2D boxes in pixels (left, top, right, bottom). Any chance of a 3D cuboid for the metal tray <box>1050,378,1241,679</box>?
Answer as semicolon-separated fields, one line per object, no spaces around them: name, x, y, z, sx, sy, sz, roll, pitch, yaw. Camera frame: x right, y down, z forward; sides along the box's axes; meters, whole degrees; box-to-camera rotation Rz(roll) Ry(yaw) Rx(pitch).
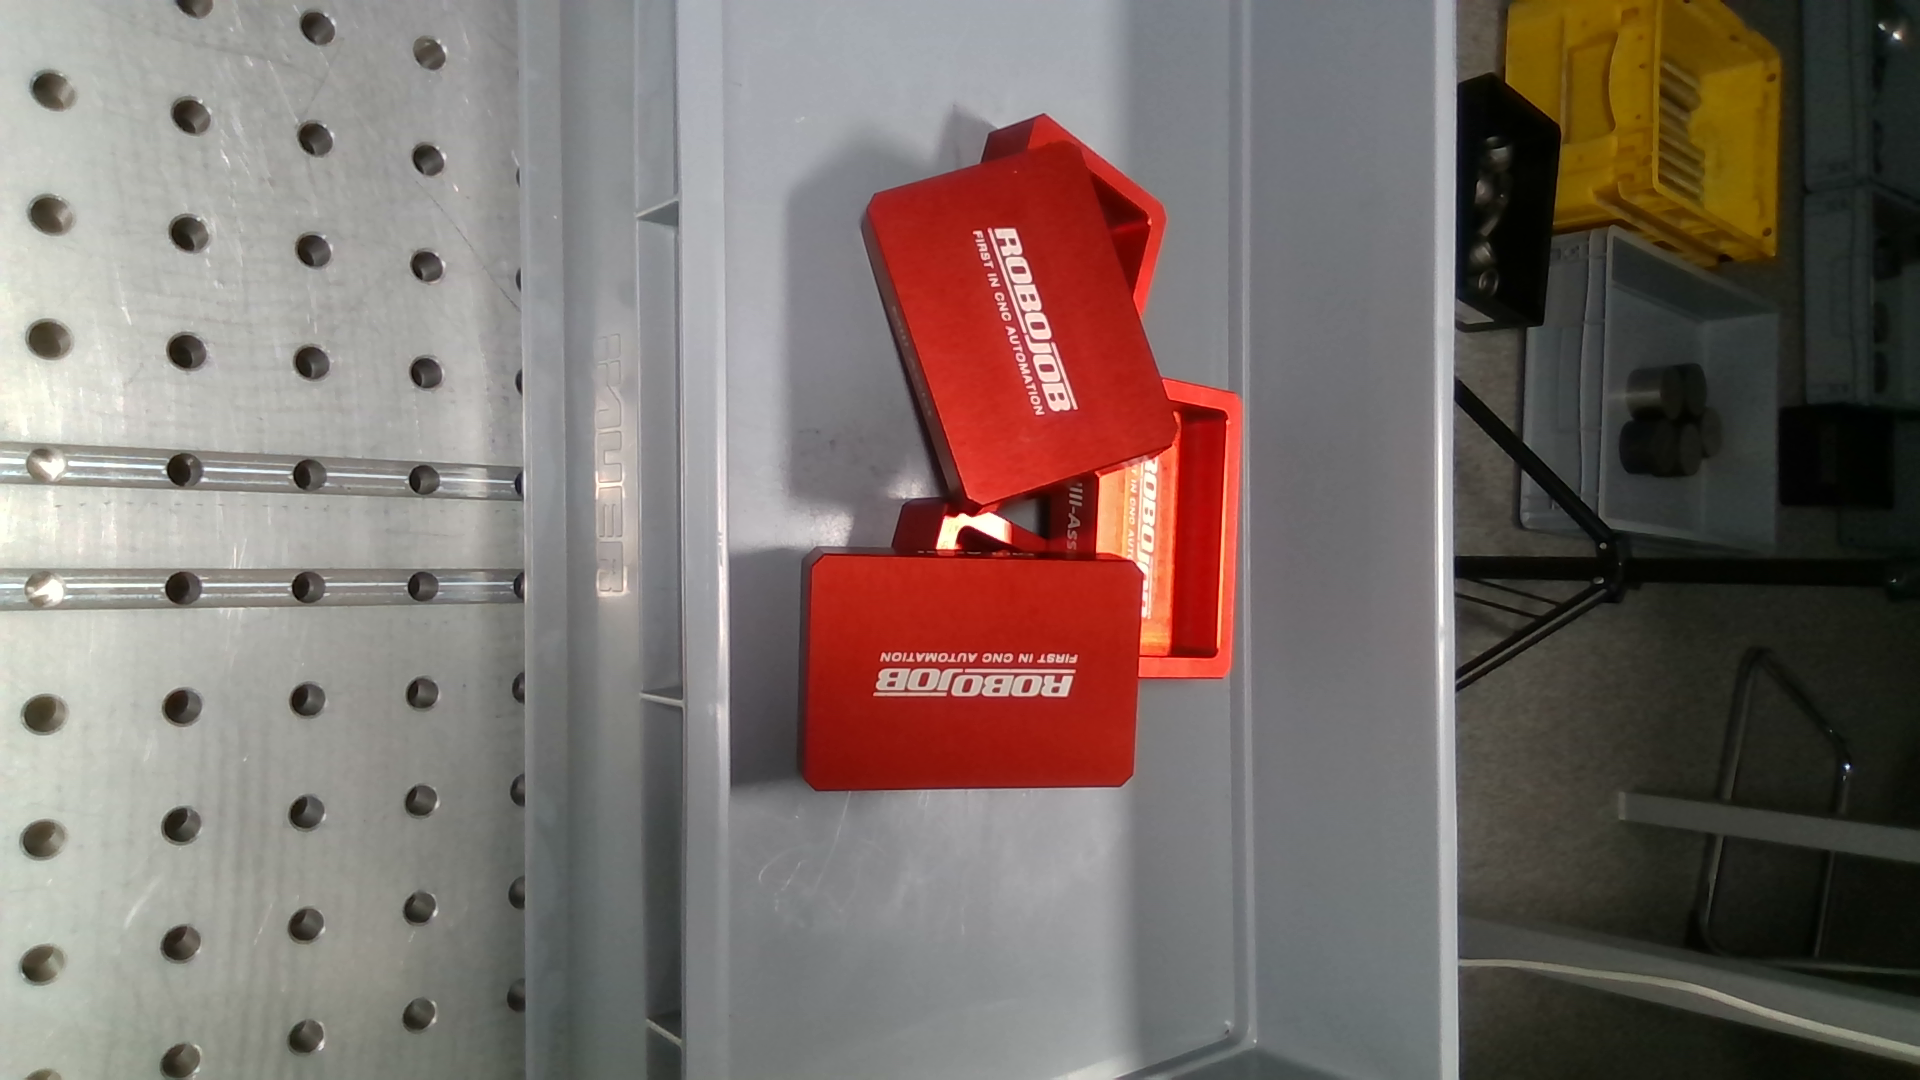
metal tray;0.082;-0.005;0.608;0.090;0.030;0.130;4;87;-40

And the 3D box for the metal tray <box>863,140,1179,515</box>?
metal tray;0.023;-0.085;0.553;0.090;0.030;0.130;-18;86;-10

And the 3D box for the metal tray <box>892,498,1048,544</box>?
metal tray;0.022;0.044;0.596;0.130;0.030;0.090;24;75;-38

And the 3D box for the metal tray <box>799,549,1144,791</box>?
metal tray;0.004;0.050;0.539;0.130;0.030;0.090;1;95;-12

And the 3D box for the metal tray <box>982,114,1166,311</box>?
metal tray;0.039;-0.107;0.609;0.090;0.030;0.130;25;74;-37
